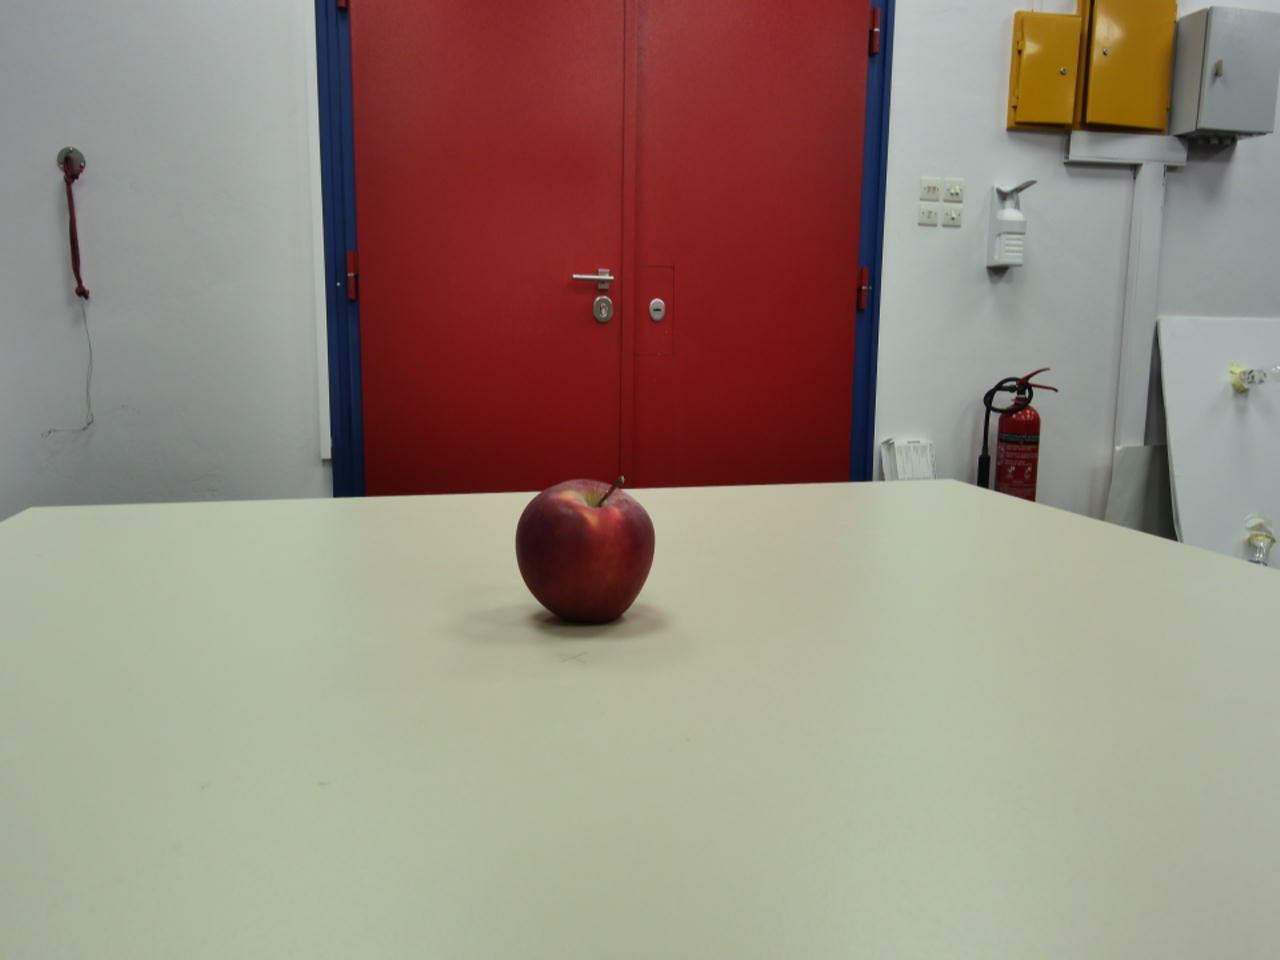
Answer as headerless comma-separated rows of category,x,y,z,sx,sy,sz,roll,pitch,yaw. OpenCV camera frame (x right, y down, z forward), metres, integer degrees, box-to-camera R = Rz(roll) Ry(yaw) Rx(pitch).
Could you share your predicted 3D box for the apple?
apple,-0.027,0.033,0.502,0.070,0.072,0.070,-1,7,0
